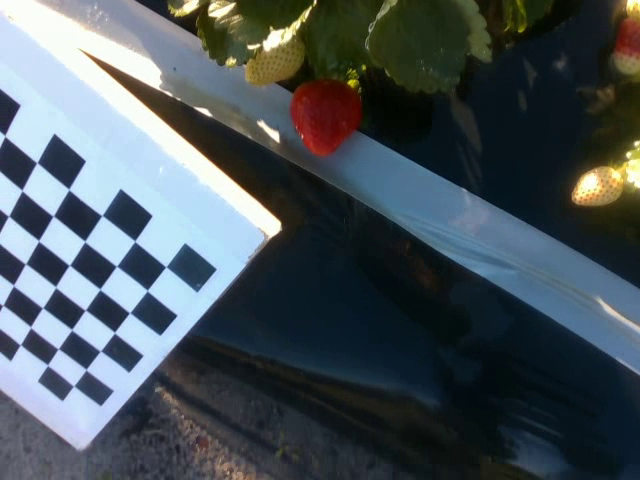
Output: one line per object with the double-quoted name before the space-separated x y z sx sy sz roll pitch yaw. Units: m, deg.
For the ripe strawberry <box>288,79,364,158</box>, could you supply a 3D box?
"ripe strawberry" 0.002 -0.070 0.324 0.045 0.063 0.048 -19 -45 29
